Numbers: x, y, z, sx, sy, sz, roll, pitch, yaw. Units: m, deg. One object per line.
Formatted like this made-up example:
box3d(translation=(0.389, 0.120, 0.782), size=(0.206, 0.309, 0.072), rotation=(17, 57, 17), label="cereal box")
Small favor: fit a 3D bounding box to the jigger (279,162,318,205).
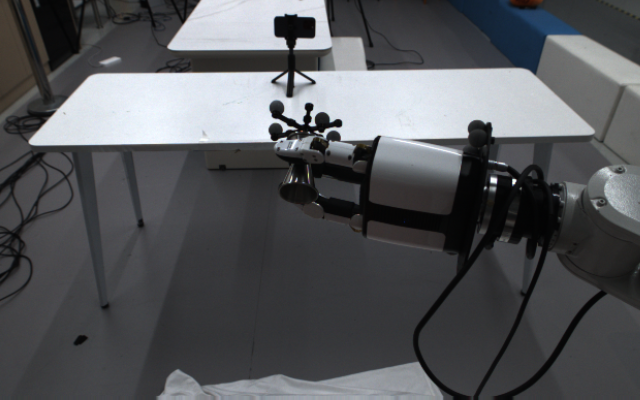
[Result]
box3d(translation=(-0.021, -0.038, 0.527), size=(0.043, 0.043, 0.071), rotation=(4, 61, 3), label="jigger")
